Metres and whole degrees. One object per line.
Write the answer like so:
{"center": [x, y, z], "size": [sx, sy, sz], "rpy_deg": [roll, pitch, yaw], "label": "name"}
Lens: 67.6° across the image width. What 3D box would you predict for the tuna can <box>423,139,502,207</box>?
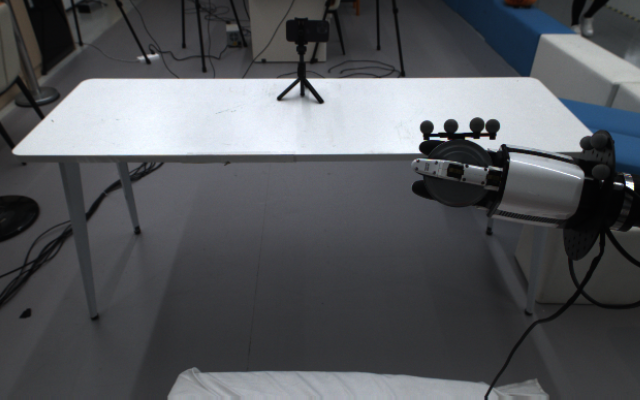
{"center": [0.177, -0.036, 0.618], "size": [0.085, 0.085, 0.034], "rpy_deg": [13, 7, 15], "label": "tuna can"}
